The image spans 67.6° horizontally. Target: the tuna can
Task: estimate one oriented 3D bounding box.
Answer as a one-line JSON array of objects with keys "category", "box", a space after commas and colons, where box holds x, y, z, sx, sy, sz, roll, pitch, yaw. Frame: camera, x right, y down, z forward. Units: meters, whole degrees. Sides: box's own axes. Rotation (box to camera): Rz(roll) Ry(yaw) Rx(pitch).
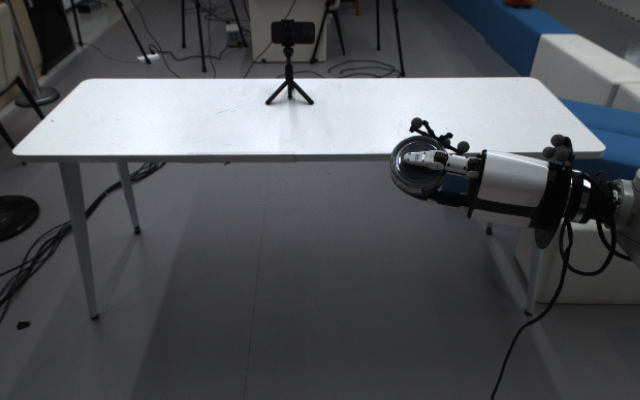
[{"category": "tuna can", "box": [0.151, -0.047, 0.717, 0.085, 0.034, 0.085, -4, 69, 10]}]
